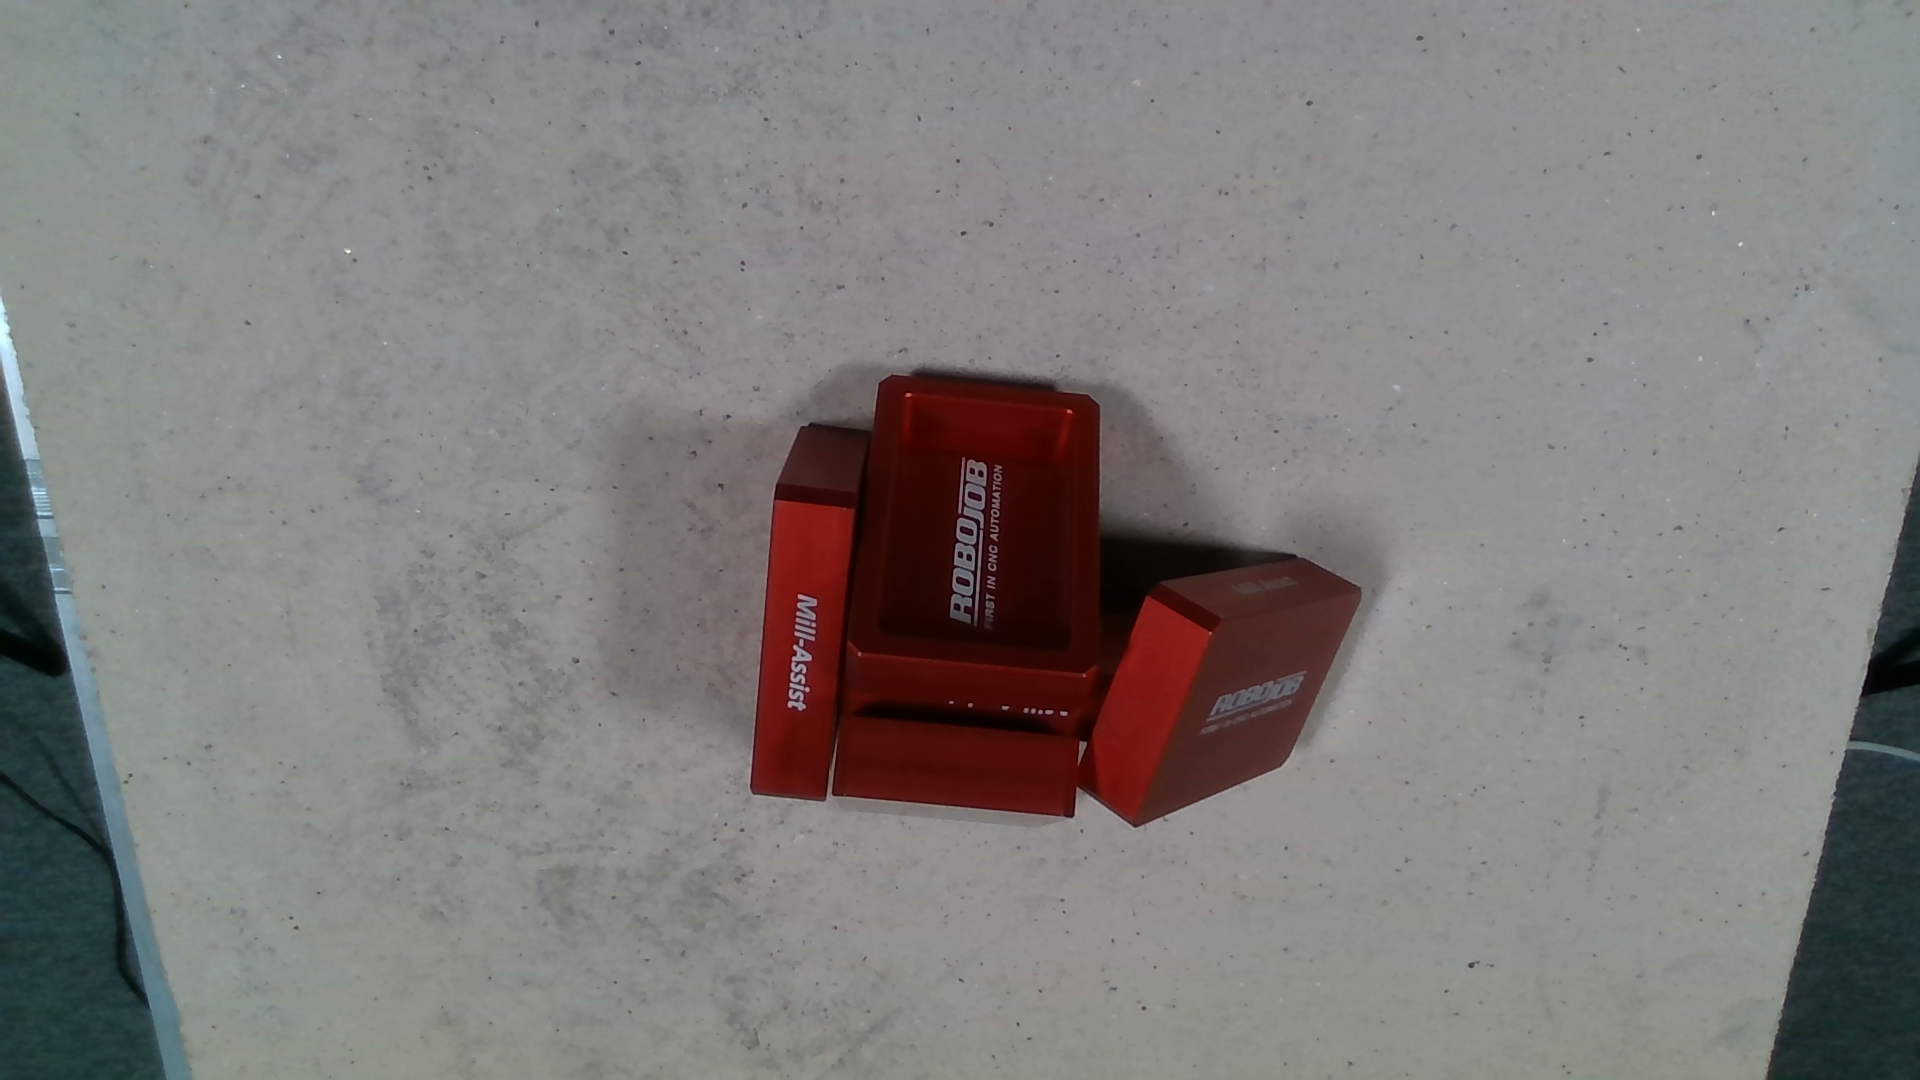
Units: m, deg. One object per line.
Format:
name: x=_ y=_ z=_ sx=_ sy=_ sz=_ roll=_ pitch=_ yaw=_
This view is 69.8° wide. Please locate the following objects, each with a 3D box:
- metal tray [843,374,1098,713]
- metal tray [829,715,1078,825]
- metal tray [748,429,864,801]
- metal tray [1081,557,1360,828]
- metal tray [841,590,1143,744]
metal tray: x=0.006 y=-0.001 z=0.533 sx=0.090 sy=0.130 sz=0.030 roll=6 pitch=146 yaw=-2
metal tray: x=-0.005 y=0.098 z=0.568 sx=0.090 sy=0.130 sz=0.030 roll=6 pitch=77 yaw=-2
metal tray: x=-0.061 y=0.028 z=0.560 sx=0.030 sy=0.090 sz=0.130 roll=7 pitch=110 yaw=-2
metal tray: x=0.107 y=0.058 z=0.557 sx=0.030 sy=0.130 sz=0.090 roll=32 pitch=113 yaw=33
metal tray: x=0.019 y=0.046 z=0.567 sx=0.130 sy=0.090 sz=0.030 roll=7 pitch=110 yaw=-2
